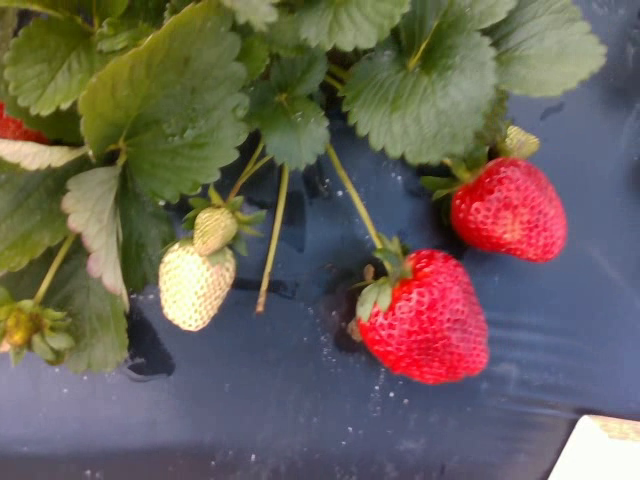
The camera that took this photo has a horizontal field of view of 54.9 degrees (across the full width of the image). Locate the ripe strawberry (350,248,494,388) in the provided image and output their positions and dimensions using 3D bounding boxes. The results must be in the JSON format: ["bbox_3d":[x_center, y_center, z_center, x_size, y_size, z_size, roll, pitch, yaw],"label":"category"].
[{"bbox_3d":[0.052,0.040,0.276,0.058,0.065,0.044,-42,6,15],"label":"ripe strawberry"}]

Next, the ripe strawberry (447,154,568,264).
[{"bbox_3d":[0.093,-0.010,0.289,0.051,0.060,0.051,-47,-27,17],"label":"ripe strawberry"}]
